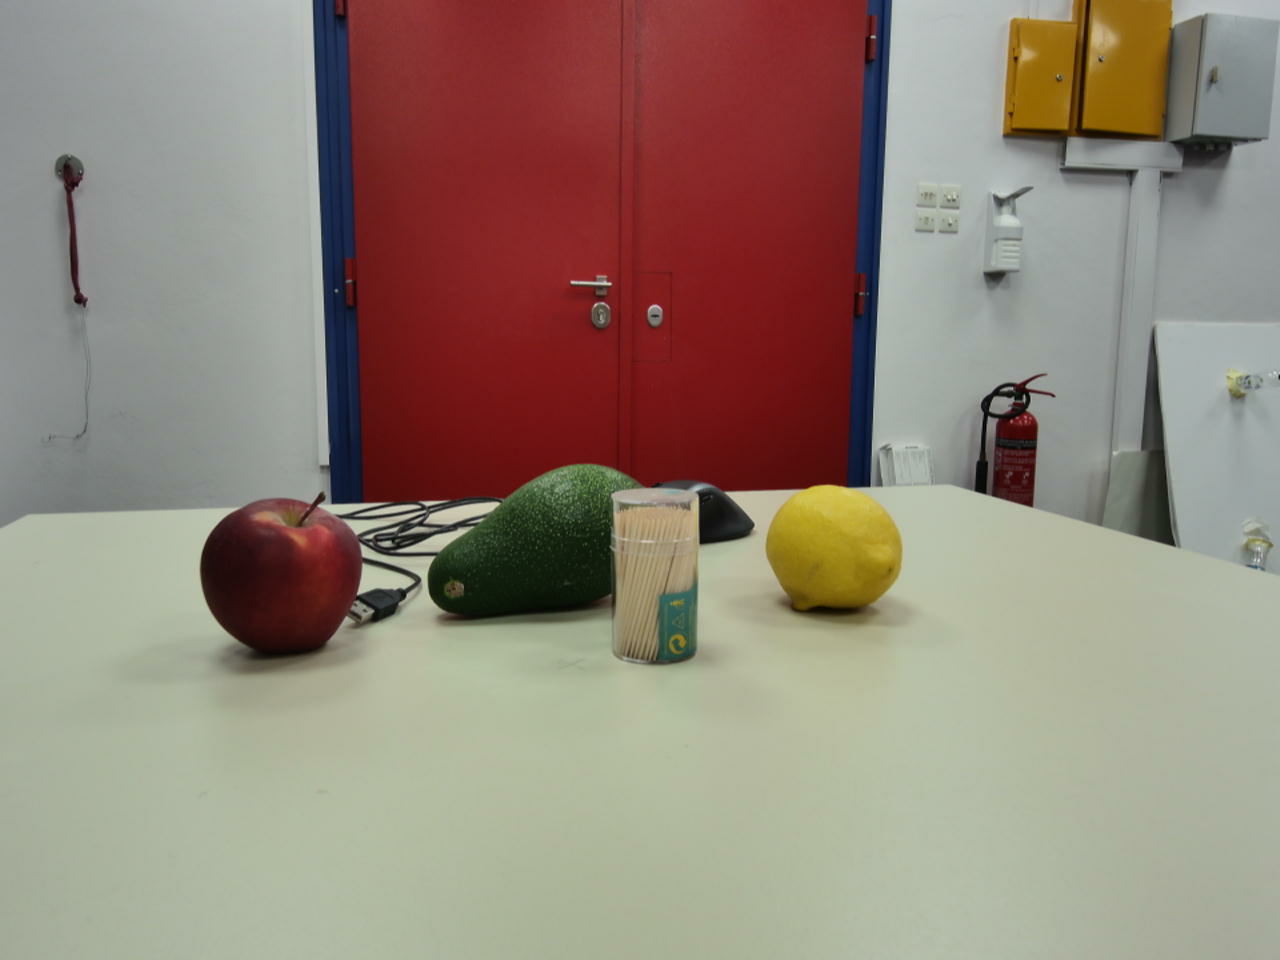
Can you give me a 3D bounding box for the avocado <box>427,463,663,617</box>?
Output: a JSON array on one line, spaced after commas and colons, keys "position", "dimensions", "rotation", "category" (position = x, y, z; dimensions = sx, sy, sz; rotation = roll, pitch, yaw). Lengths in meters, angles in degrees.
[{"position": [-0.049, 0.030, 0.532], "dimensions": [0.123, 0.076, 0.074], "rotation": [-1, 6, -7], "category": "avocado"}]
